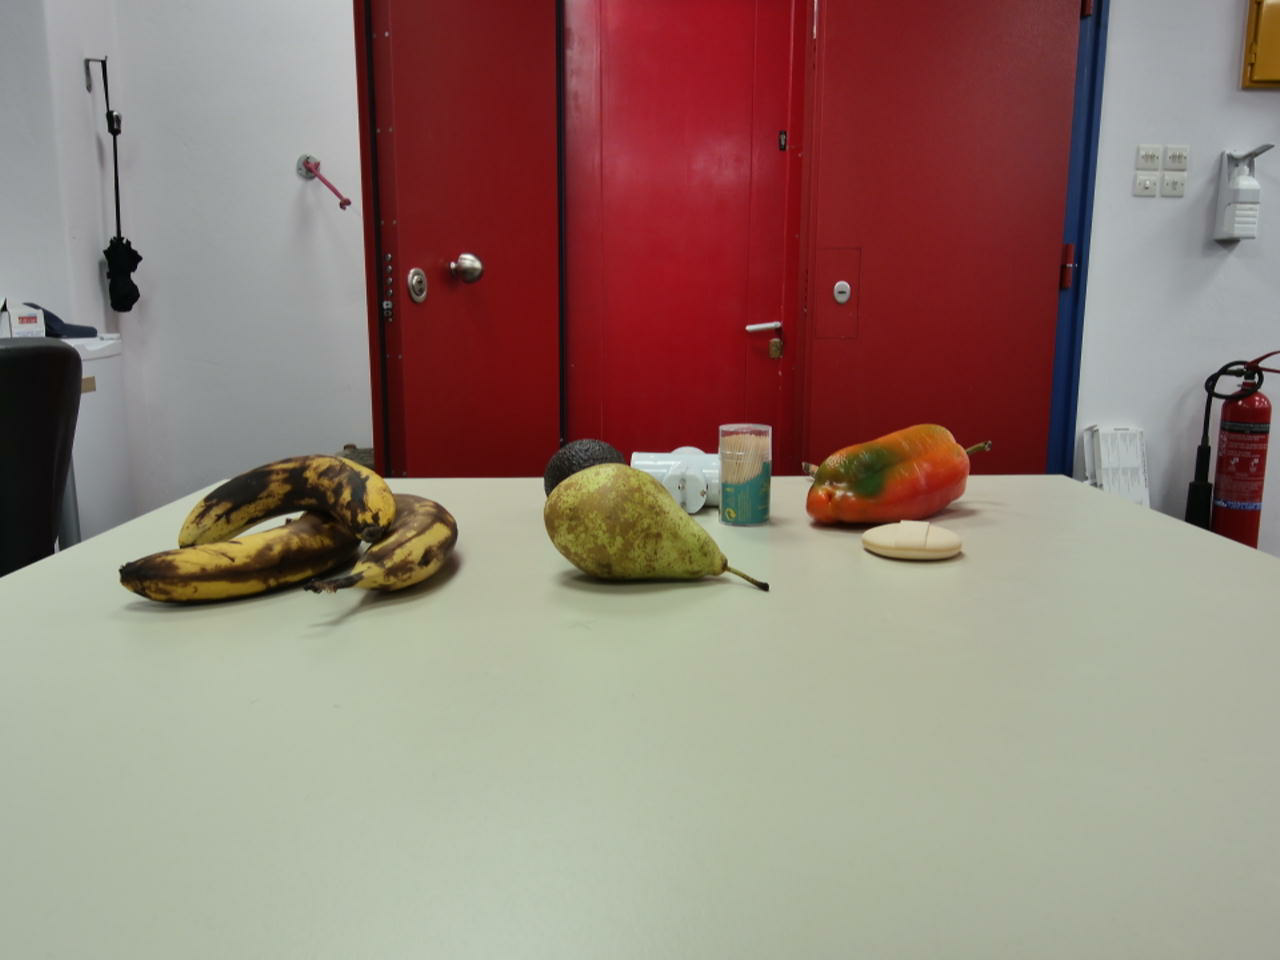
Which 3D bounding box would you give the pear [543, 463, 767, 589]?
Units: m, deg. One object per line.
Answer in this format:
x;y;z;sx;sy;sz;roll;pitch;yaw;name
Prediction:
0.006;0.025;0.617;0.128;0.075;0.071;-3;8;-9;pear
